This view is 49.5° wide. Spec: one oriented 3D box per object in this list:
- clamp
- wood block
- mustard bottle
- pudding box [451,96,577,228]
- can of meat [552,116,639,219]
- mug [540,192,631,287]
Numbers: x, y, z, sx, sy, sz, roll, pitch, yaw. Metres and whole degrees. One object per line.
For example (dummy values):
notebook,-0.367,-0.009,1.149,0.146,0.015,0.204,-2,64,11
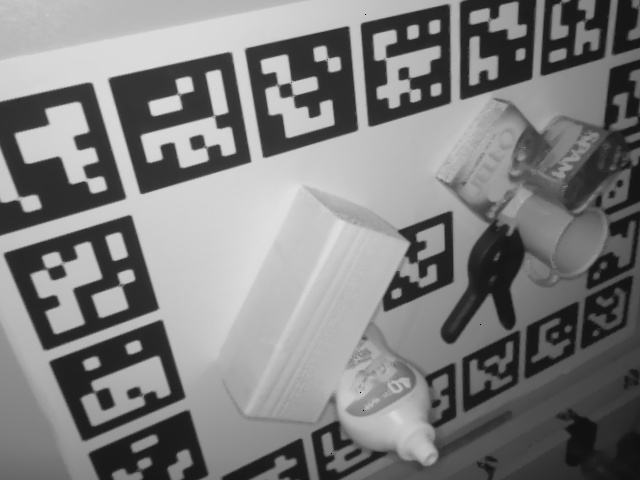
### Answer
clamp,0.233,0.060,0.829,0.123,0.036,0.164,0,110,-26
wood block,-0.001,0.062,0.676,0.091,0.090,0.205,19,105,-34
mustard bottle,0.073,0.160,0.692,0.097,0.190,0.058,-23,121,-16
pudding box,0.208,-0.083,0.745,0.091,0.038,0.113,34,96,-34
can of meat,0.311,-0.084,0.764,0.102,0.083,0.058,-45,123,-2
mug,0.304,0.002,0.834,0.094,0.081,0.116,3,109,-28
